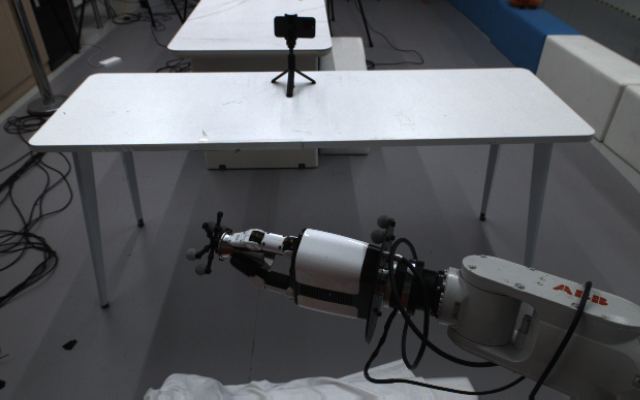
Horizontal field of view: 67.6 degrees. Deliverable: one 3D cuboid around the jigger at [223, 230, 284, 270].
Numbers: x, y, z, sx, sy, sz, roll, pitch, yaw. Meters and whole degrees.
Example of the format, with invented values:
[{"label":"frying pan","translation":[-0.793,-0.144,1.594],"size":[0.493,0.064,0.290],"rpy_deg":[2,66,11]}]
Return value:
[{"label":"jigger","translation":[-0.093,0.064,0.658],"size":[0.071,0.043,0.043],"rpy_deg":[9,35,16]}]
